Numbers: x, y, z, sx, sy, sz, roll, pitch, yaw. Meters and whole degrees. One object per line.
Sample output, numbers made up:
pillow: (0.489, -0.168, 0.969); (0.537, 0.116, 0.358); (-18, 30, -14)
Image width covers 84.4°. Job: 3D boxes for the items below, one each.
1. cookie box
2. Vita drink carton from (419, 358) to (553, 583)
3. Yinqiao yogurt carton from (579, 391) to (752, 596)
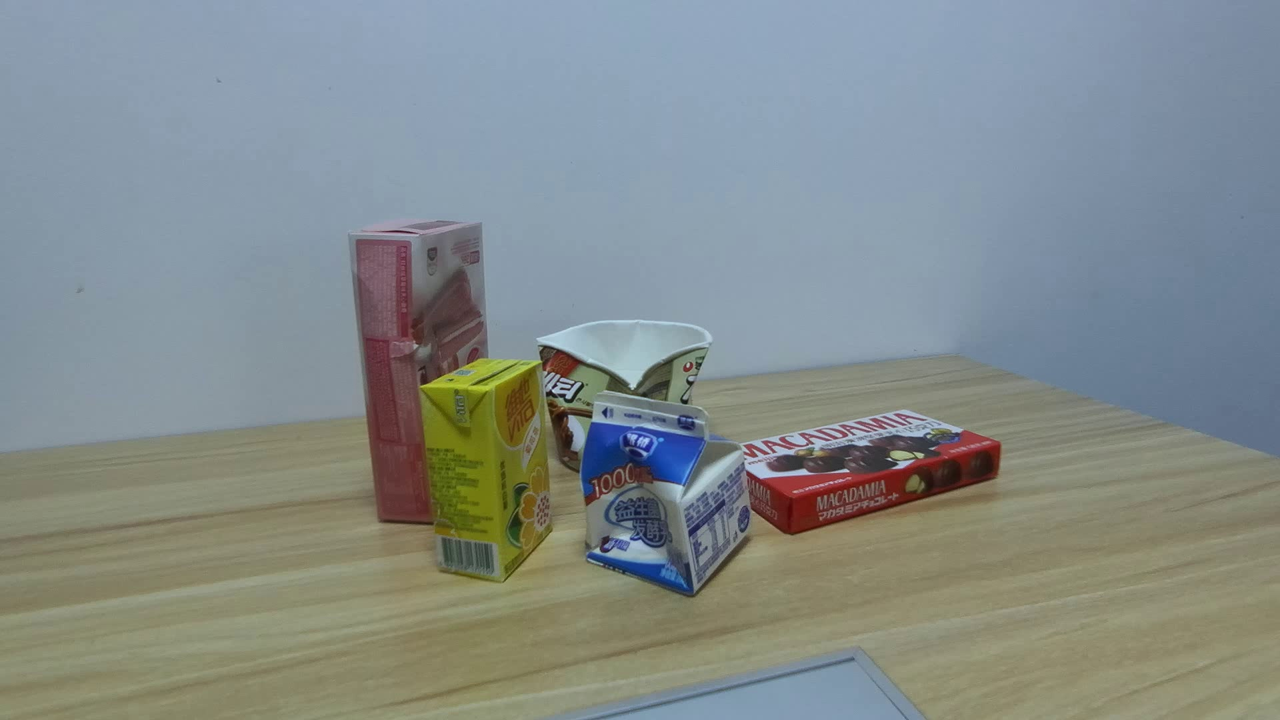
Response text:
cookie box: (-0.140, 0.004, 0.470); (0.049, 0.187, 0.105); (1, 14, 8)
Vita drink carton: (-0.085, 0.059, 0.405); (0.043, 0.109, 0.067); (3, 14, 18)
Yinqiao yogurt carton: (0.012, 0.065, 0.394); (0.077, 0.094, 0.071); (7, 21, 34)
